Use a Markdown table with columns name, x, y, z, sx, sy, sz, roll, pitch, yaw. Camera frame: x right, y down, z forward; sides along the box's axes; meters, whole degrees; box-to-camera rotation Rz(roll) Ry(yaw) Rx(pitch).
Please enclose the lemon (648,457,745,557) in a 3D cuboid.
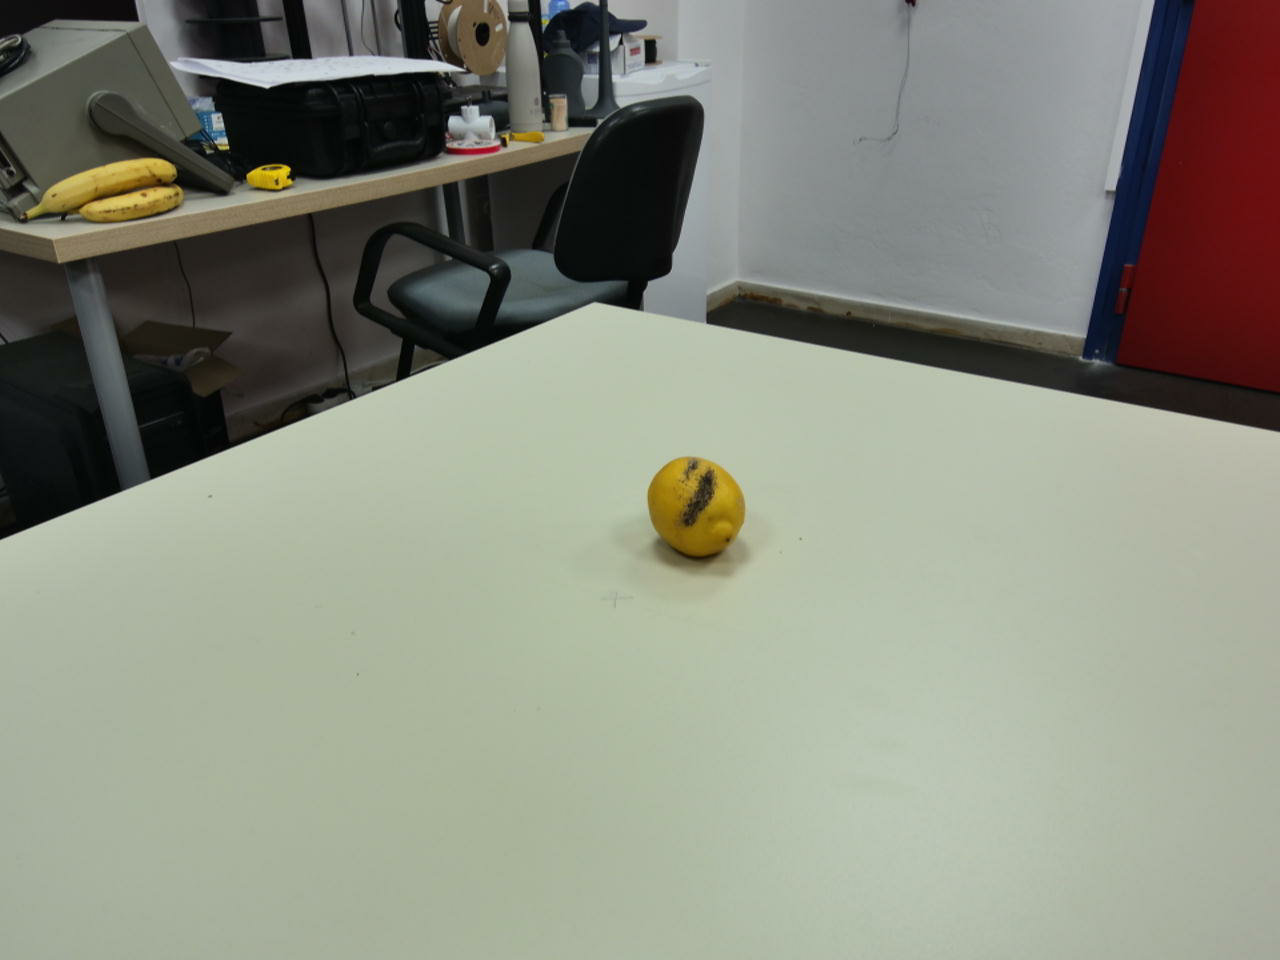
| name | x | y | z | sx | sy | sz | roll | pitch | yaw |
| --- | --- | --- | --- | --- | --- | --- | --- | --- | --- |
| lemon | 0.034 | 0.016 | 0.598 | 0.061 | 0.056 | 0.058 | 13 | 28 | 25 |
